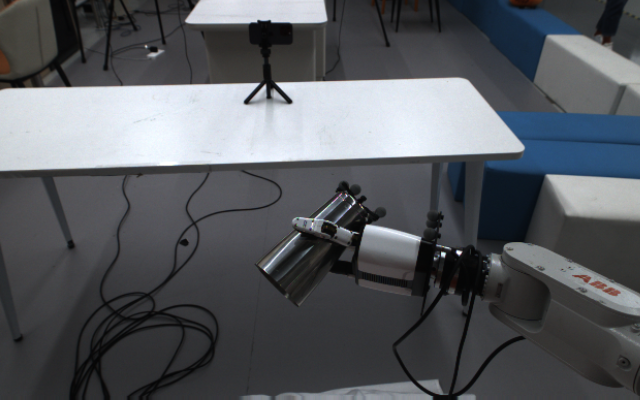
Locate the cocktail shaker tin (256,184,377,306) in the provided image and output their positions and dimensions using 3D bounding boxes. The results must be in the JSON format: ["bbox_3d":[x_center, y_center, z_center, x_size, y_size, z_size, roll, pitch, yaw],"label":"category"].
[{"bbox_3d":[-0.006,0.064,0.733,0.170,0.093,0.093,-43,50,-14],"label":"cocktail shaker tin"}]
